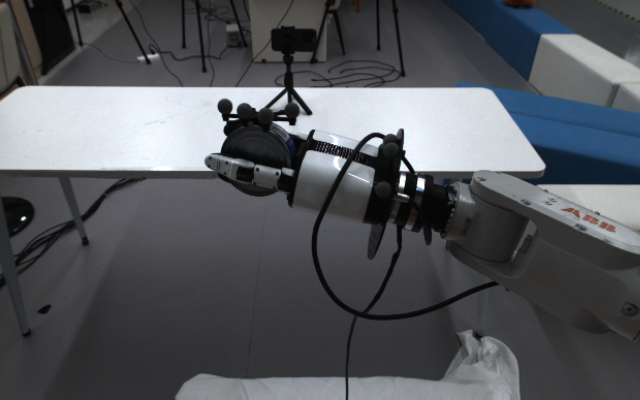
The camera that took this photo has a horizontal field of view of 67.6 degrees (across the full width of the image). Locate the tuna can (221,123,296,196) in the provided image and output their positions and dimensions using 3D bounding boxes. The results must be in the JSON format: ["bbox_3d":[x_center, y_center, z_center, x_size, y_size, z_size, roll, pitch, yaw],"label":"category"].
[{"bbox_3d":[-0.070,-0.050,0.573,0.085,0.085,0.034,9,23,9],"label":"tuna can"}]
